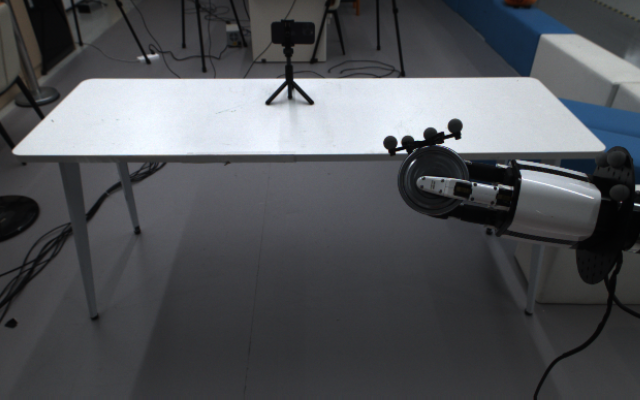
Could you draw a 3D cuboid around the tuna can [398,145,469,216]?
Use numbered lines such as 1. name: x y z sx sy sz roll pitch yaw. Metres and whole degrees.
1. tuna can: 0.142 -0.018 0.588 0.085 0.085 0.034 12 3 14
